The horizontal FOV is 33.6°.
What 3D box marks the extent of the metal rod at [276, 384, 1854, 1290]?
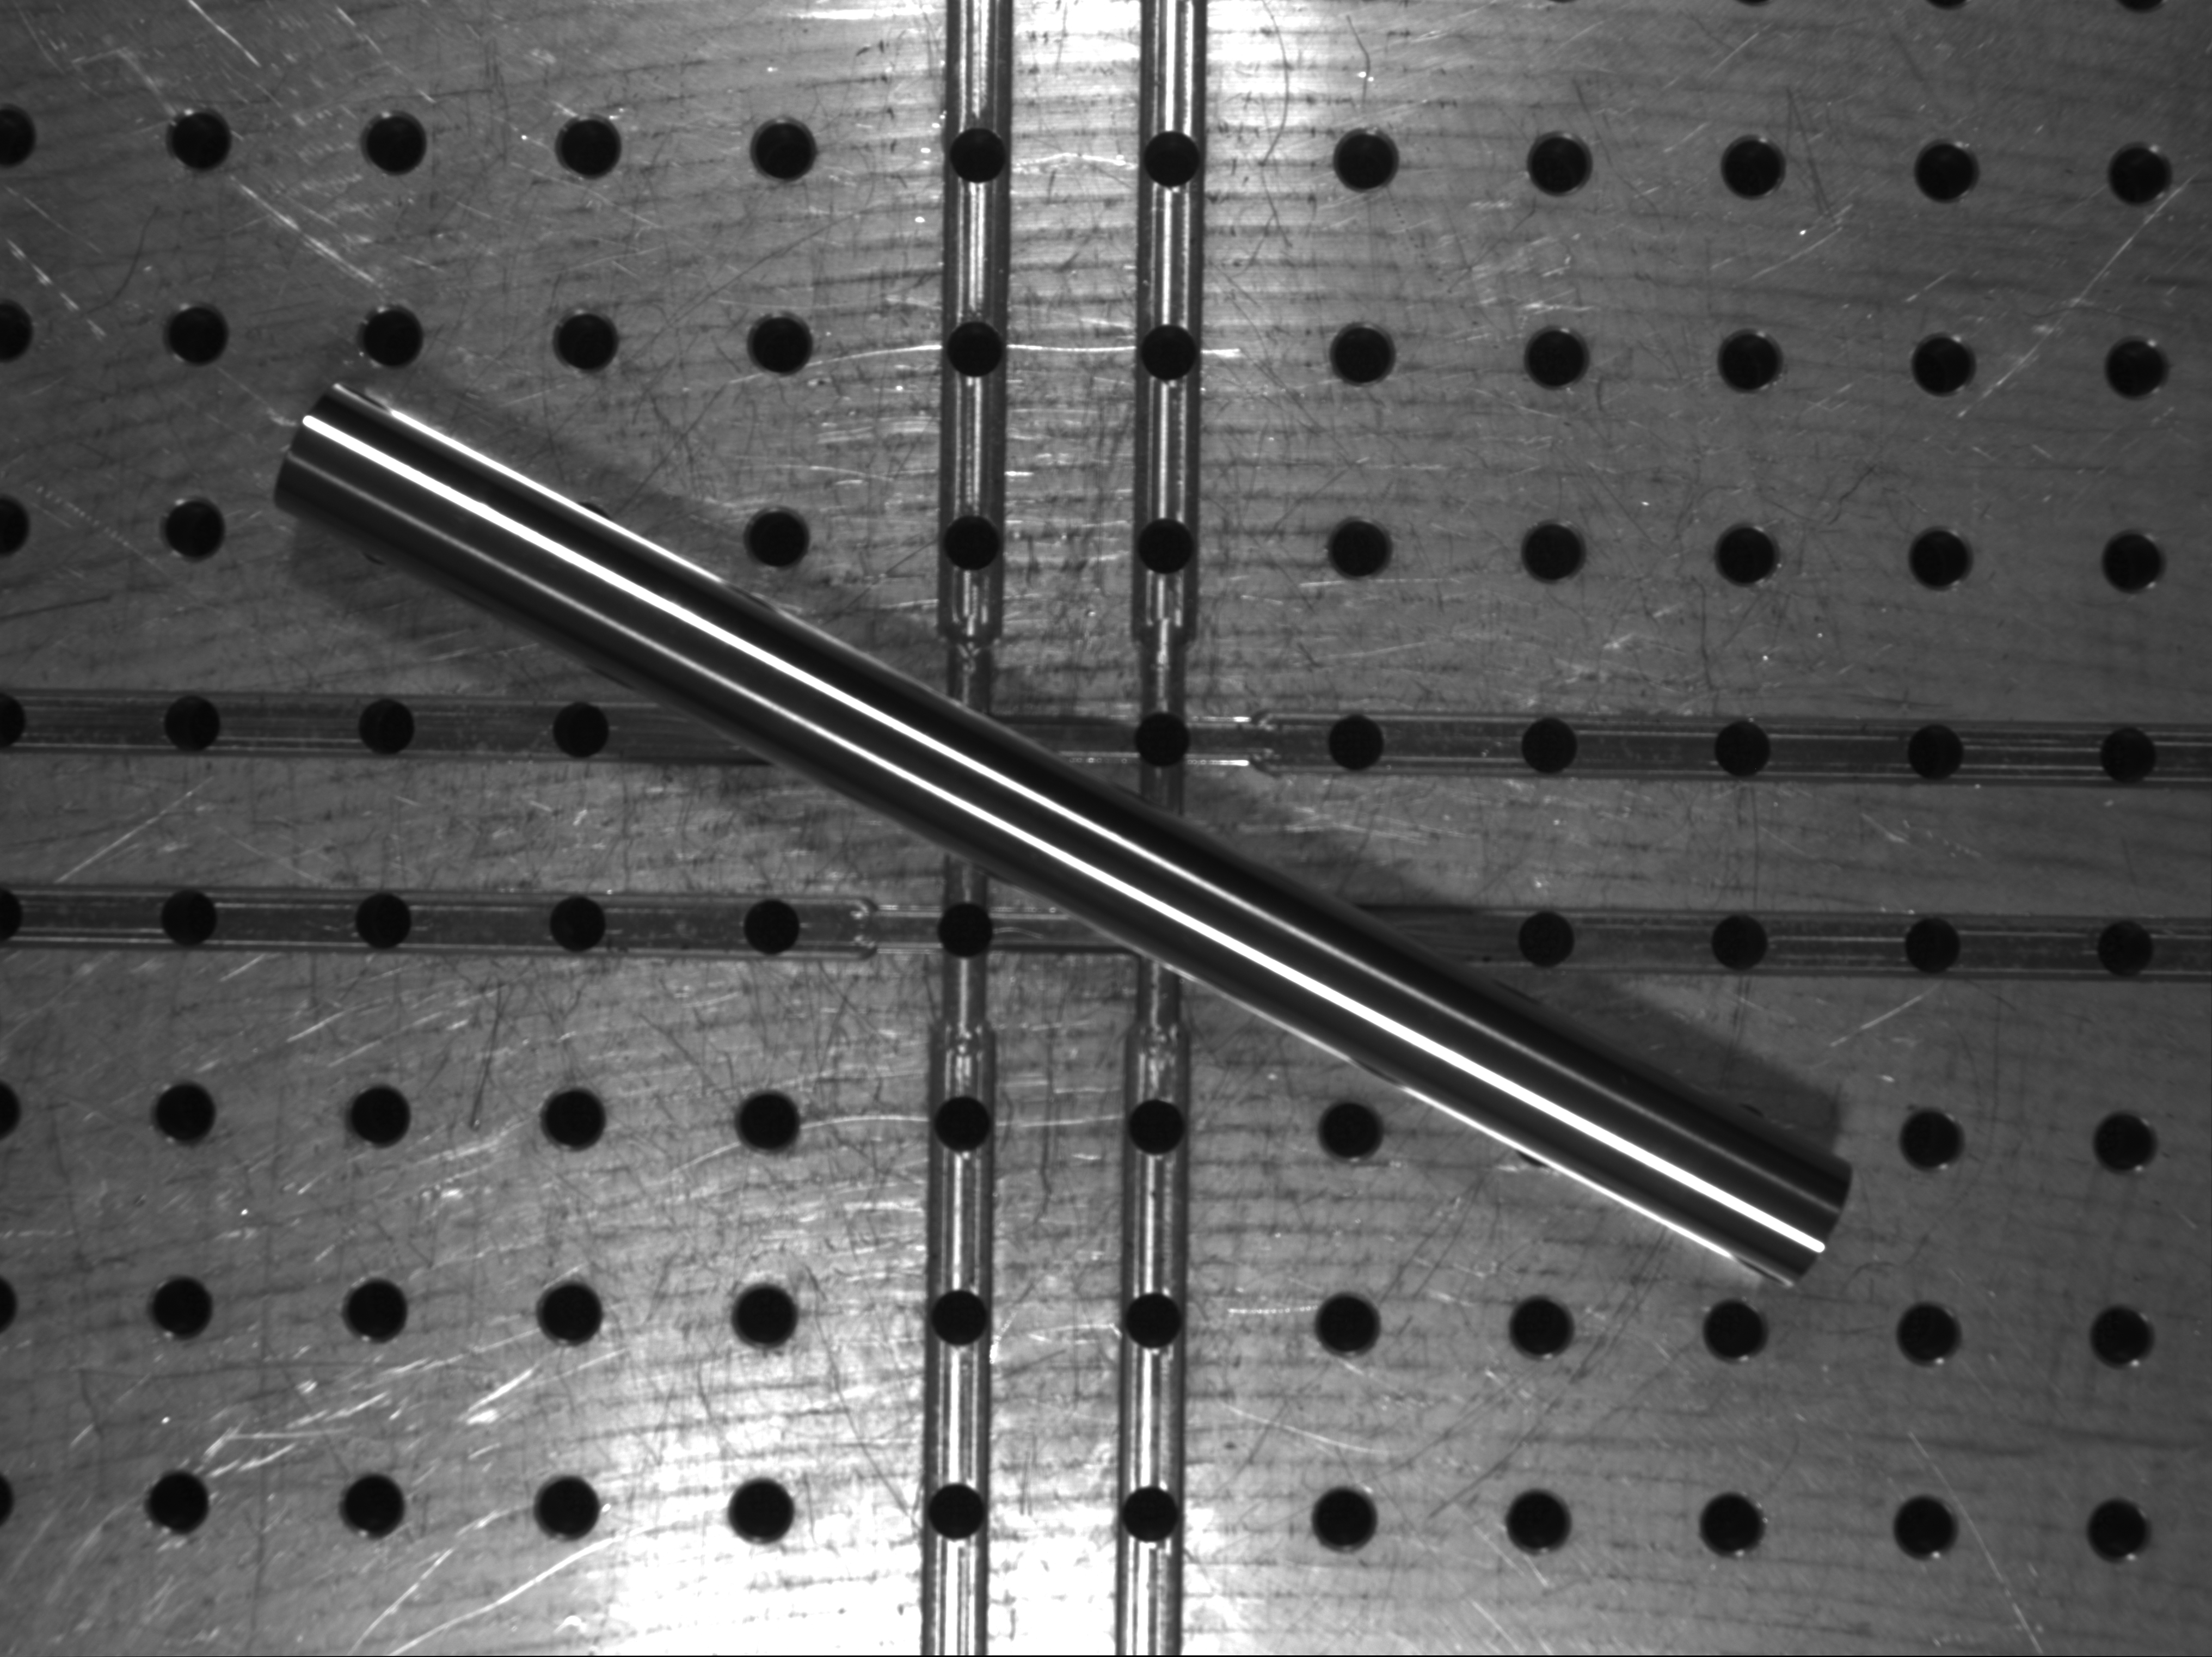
[{"bbox_3d":[-0.007,0.002,0.647,0.300,0.025,0.025,27,90,0],"label":"metal rod"}]
